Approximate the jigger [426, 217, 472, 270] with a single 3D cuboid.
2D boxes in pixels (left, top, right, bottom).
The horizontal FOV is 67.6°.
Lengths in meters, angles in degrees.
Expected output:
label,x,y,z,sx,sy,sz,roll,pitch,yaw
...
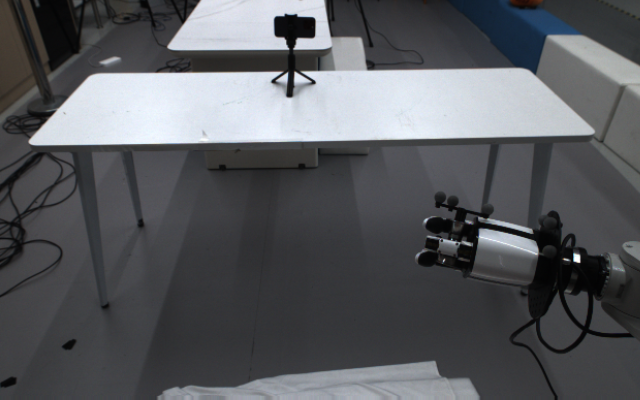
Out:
label,x,y,z,sx,sy,sz,roll,pitch,yaw
jigger,0.206,0.064,0.736,0.043,0.071,0.043,14,1,0
